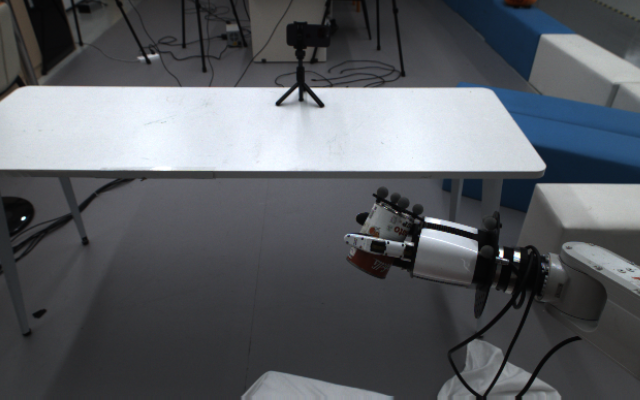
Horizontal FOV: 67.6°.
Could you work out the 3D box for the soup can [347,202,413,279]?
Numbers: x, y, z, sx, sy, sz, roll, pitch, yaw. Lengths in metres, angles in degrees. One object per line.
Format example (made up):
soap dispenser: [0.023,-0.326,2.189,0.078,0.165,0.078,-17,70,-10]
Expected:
soup can: [0.093,0.060,0.736,0.067,0.101,0.067,26,5,-3]
